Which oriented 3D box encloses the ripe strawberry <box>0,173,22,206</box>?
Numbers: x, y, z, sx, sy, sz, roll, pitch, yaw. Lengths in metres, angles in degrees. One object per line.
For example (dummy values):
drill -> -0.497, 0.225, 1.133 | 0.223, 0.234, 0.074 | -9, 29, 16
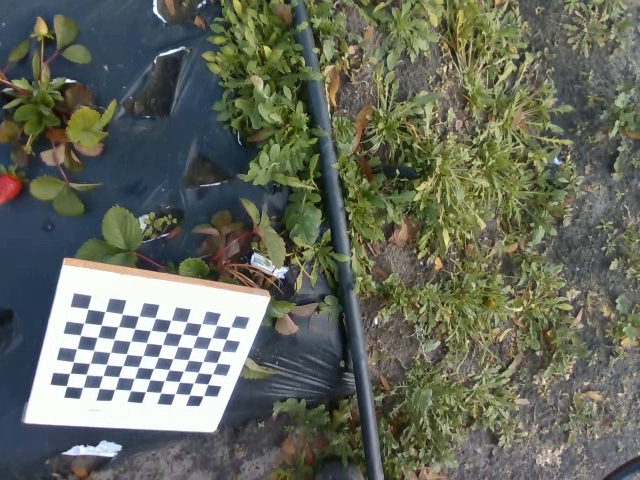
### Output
ripe strawberry -> -0.413, -0.062, 0.796 | 0.041, 0.052, 0.044 | -10, -32, 38
